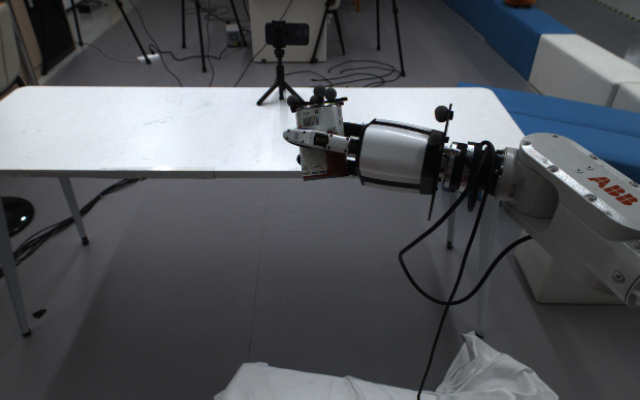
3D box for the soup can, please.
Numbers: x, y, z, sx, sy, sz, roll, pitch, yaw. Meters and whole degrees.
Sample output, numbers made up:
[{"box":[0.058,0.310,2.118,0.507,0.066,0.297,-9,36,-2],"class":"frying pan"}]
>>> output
[{"box":[0.003,-0.081,0.686,0.067,0.101,0.067,-7,3,0],"class":"soup can"}]
